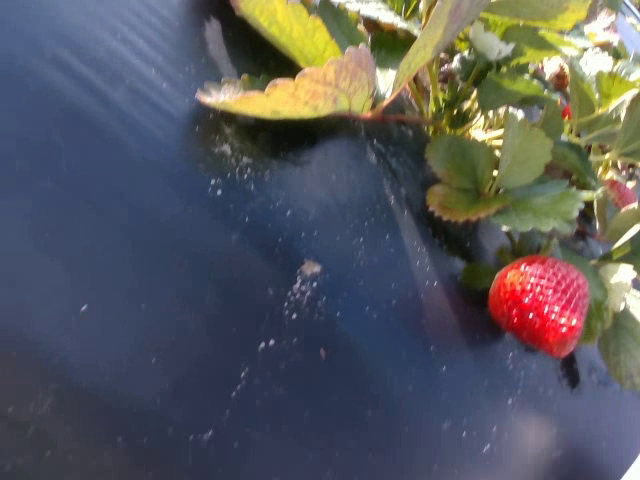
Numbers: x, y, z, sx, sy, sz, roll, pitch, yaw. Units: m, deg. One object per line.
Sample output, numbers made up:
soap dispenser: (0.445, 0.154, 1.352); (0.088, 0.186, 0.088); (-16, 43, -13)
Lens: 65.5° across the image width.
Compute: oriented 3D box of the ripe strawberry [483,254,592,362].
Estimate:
ripe strawberry: (0.078, 0.024, 0.166); (0.041, 0.041, 0.047); (14, 26, -3)
